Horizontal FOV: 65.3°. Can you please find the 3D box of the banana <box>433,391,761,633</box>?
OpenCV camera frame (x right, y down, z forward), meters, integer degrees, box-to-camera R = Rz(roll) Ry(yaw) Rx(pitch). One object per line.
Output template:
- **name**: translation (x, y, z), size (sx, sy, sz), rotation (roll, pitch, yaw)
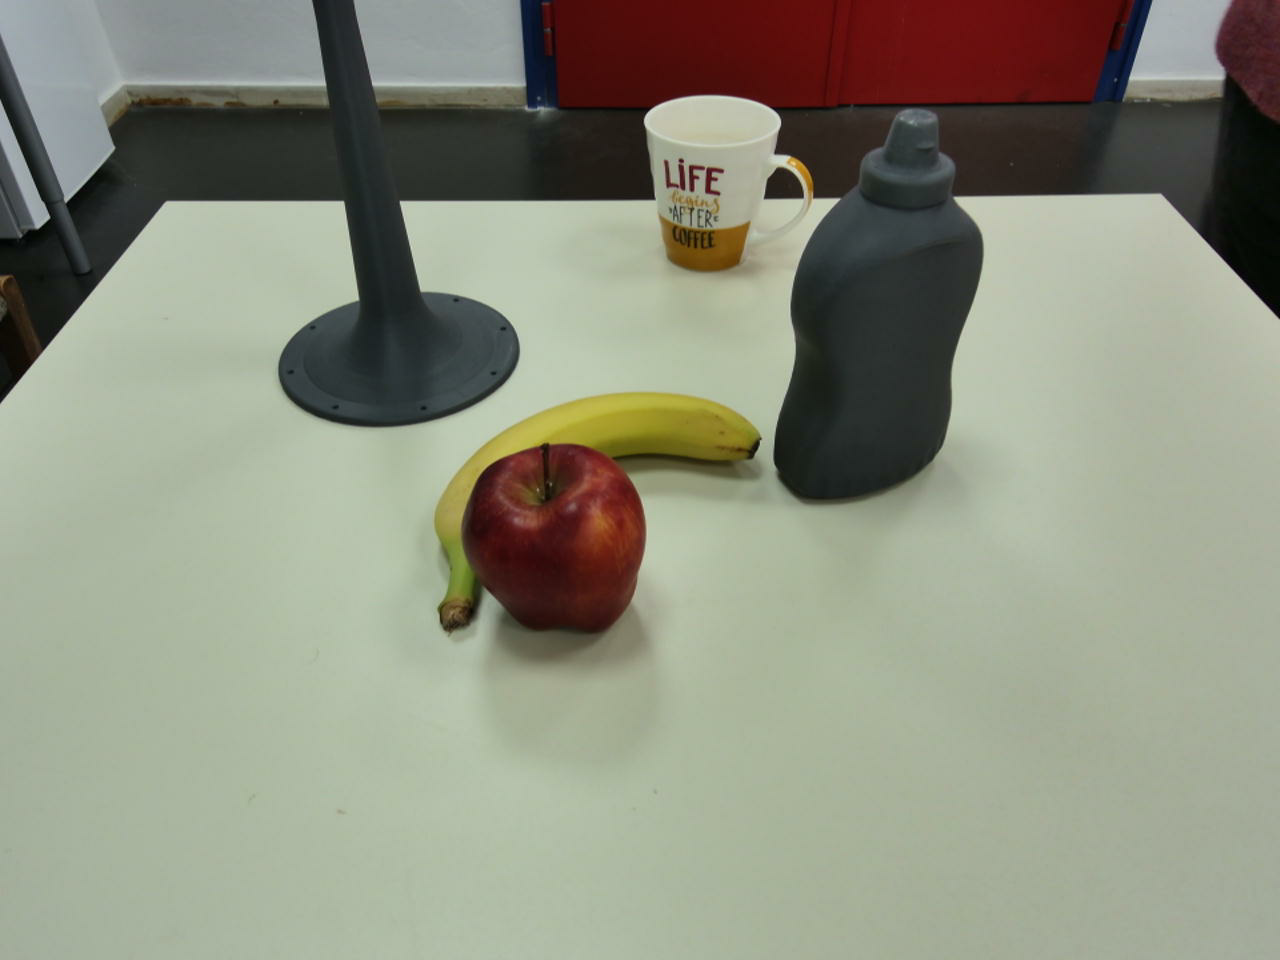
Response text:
- **banana**: translation (-0.036, -0.003, 0.522), size (0.196, 0.041, 0.094), rotation (-25, 45, -27)
